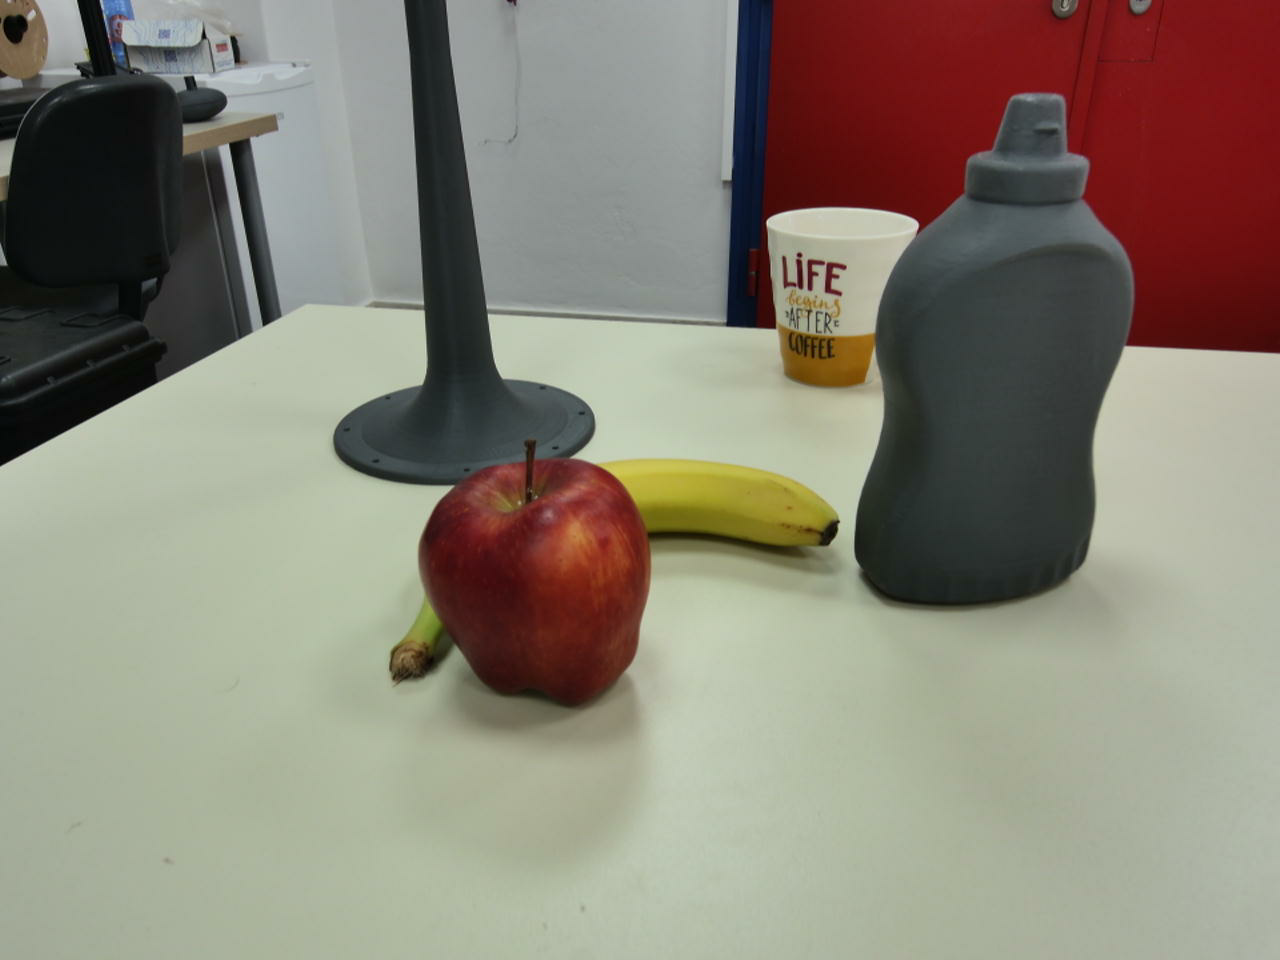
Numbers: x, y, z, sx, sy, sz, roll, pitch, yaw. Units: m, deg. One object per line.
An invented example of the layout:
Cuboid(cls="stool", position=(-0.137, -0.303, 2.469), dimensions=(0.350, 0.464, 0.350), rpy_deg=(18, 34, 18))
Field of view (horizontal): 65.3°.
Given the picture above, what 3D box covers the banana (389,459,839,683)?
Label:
Cuboid(cls="banana", position=(-0.018, 0.023, 0.432), dimensions=(0.196, 0.041, 0.094), rpy_deg=(-10, 26, -21))
